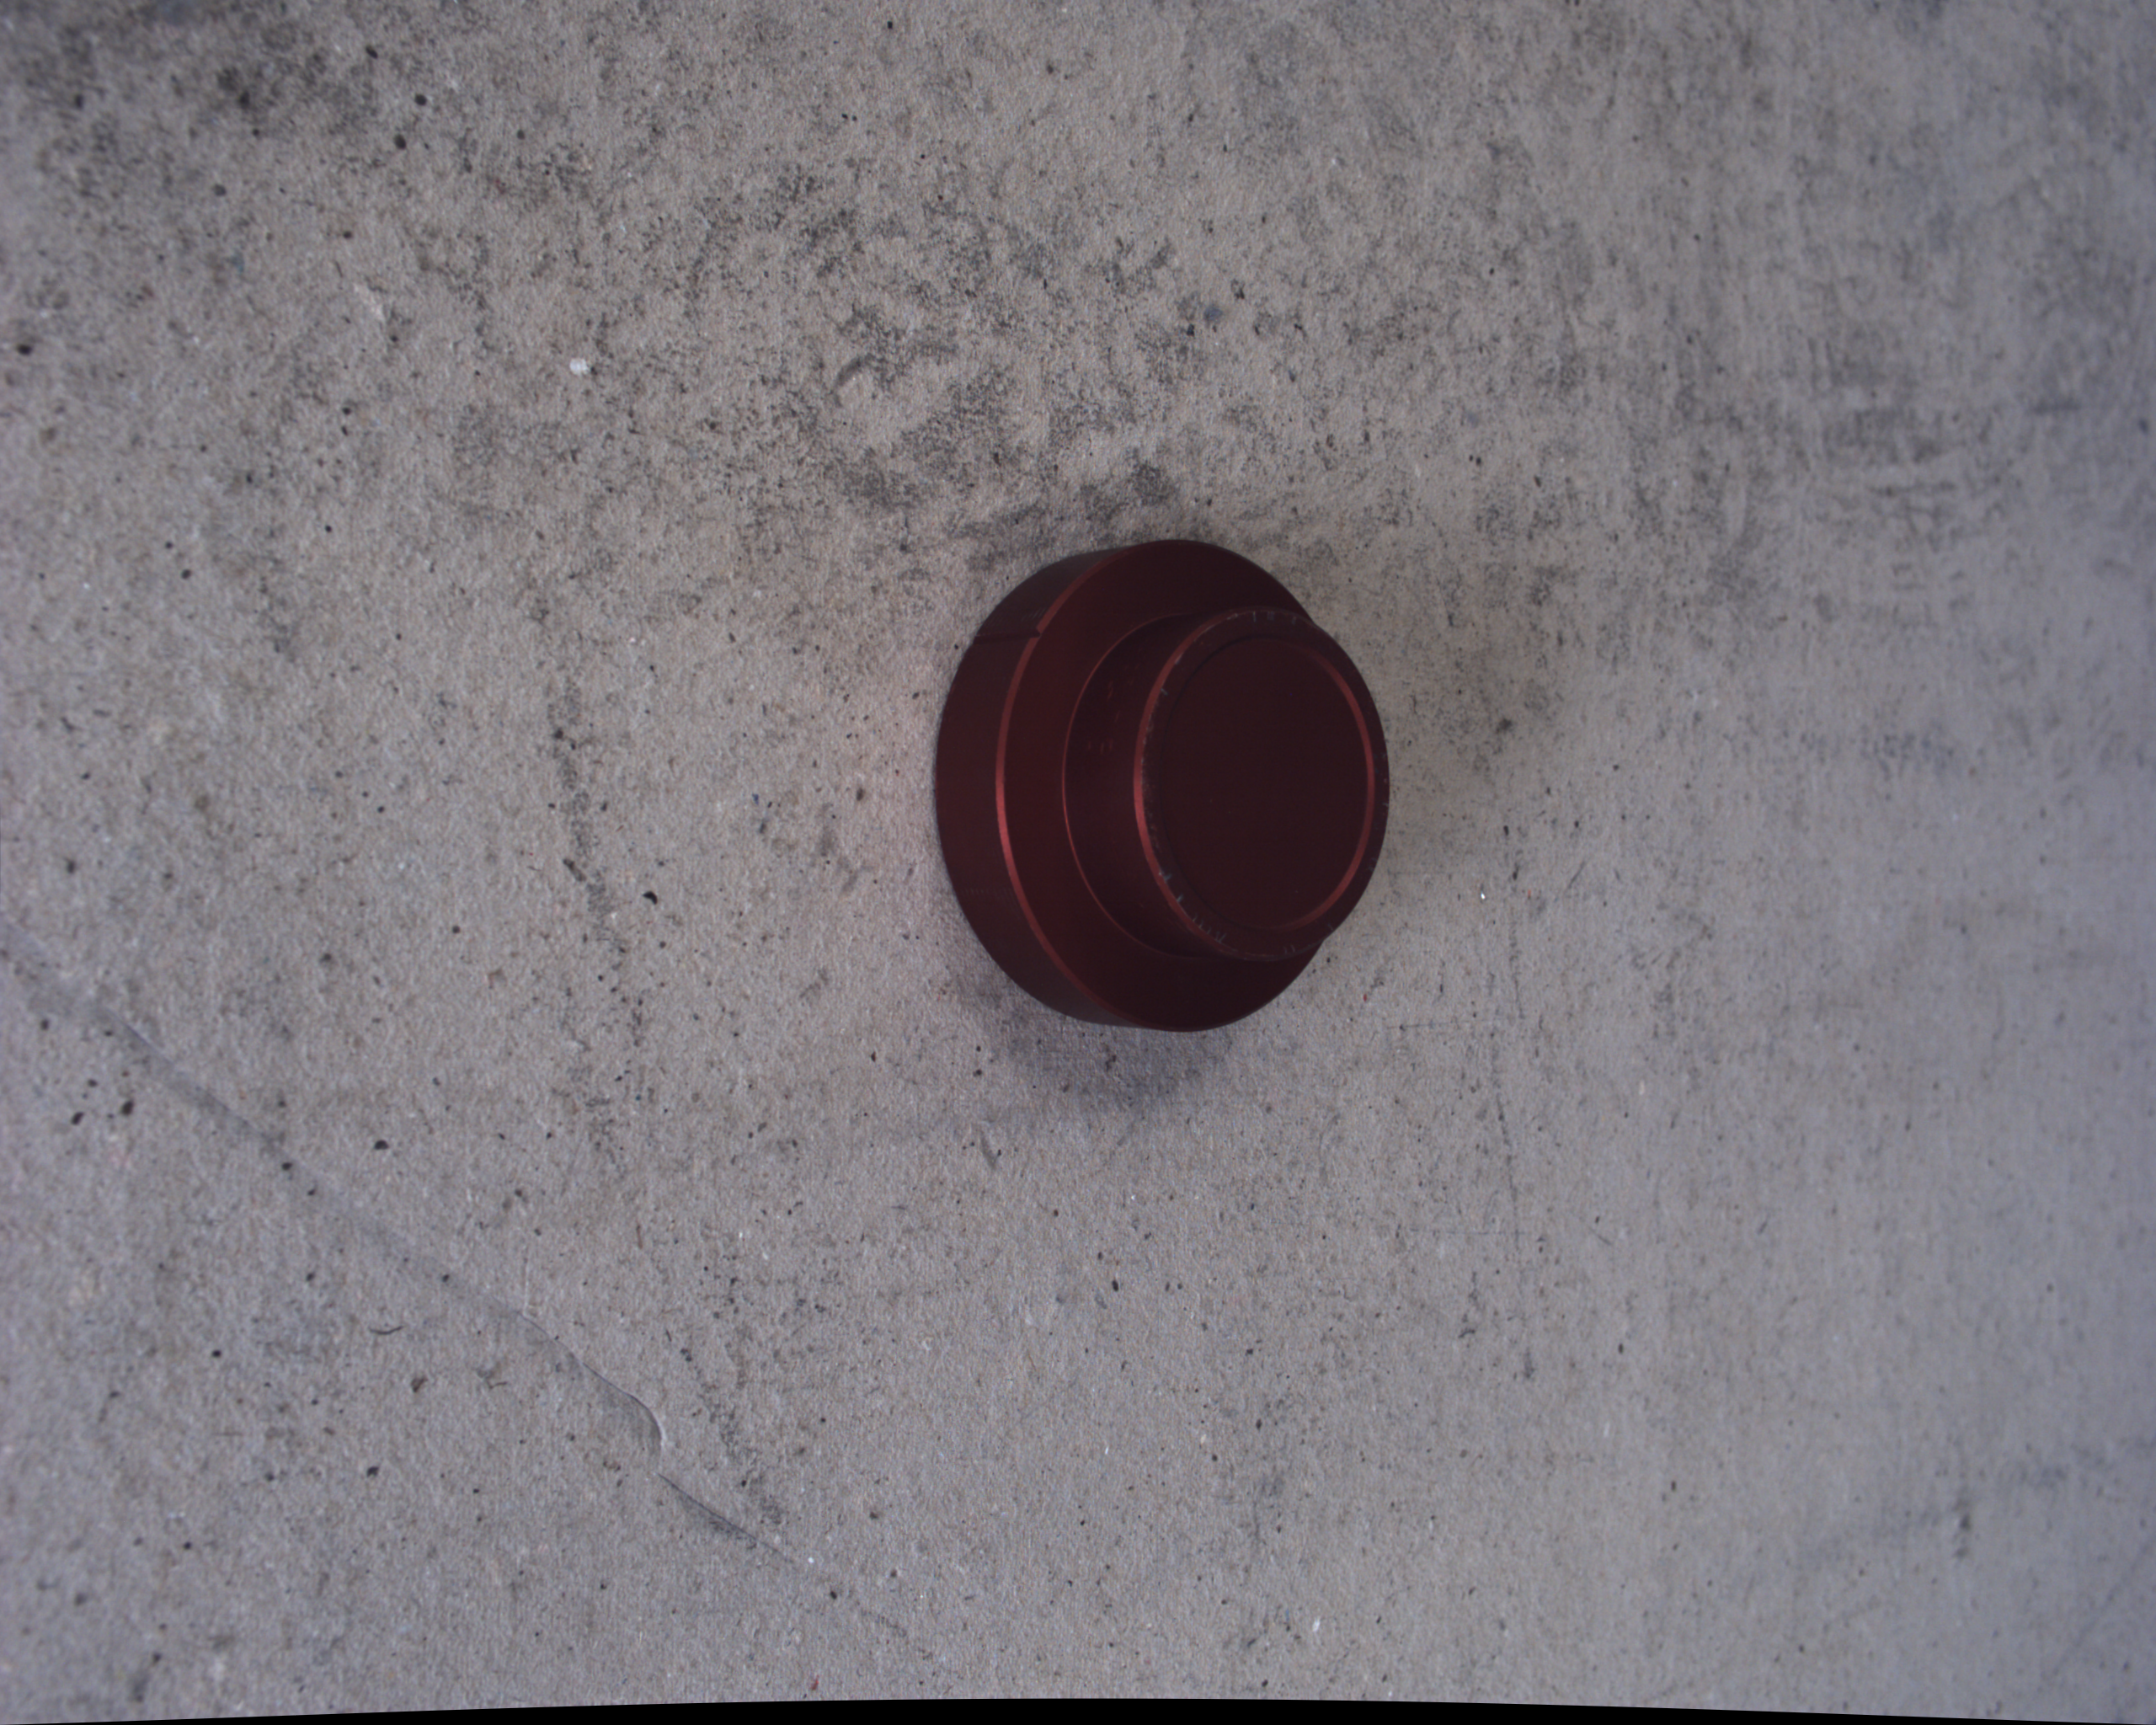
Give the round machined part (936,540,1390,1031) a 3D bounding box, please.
[{"bbox_3d":[0.024,-0.015,0.414,0.099,0.042,0.097,0,90,-40],"label":"round machined part"}]
